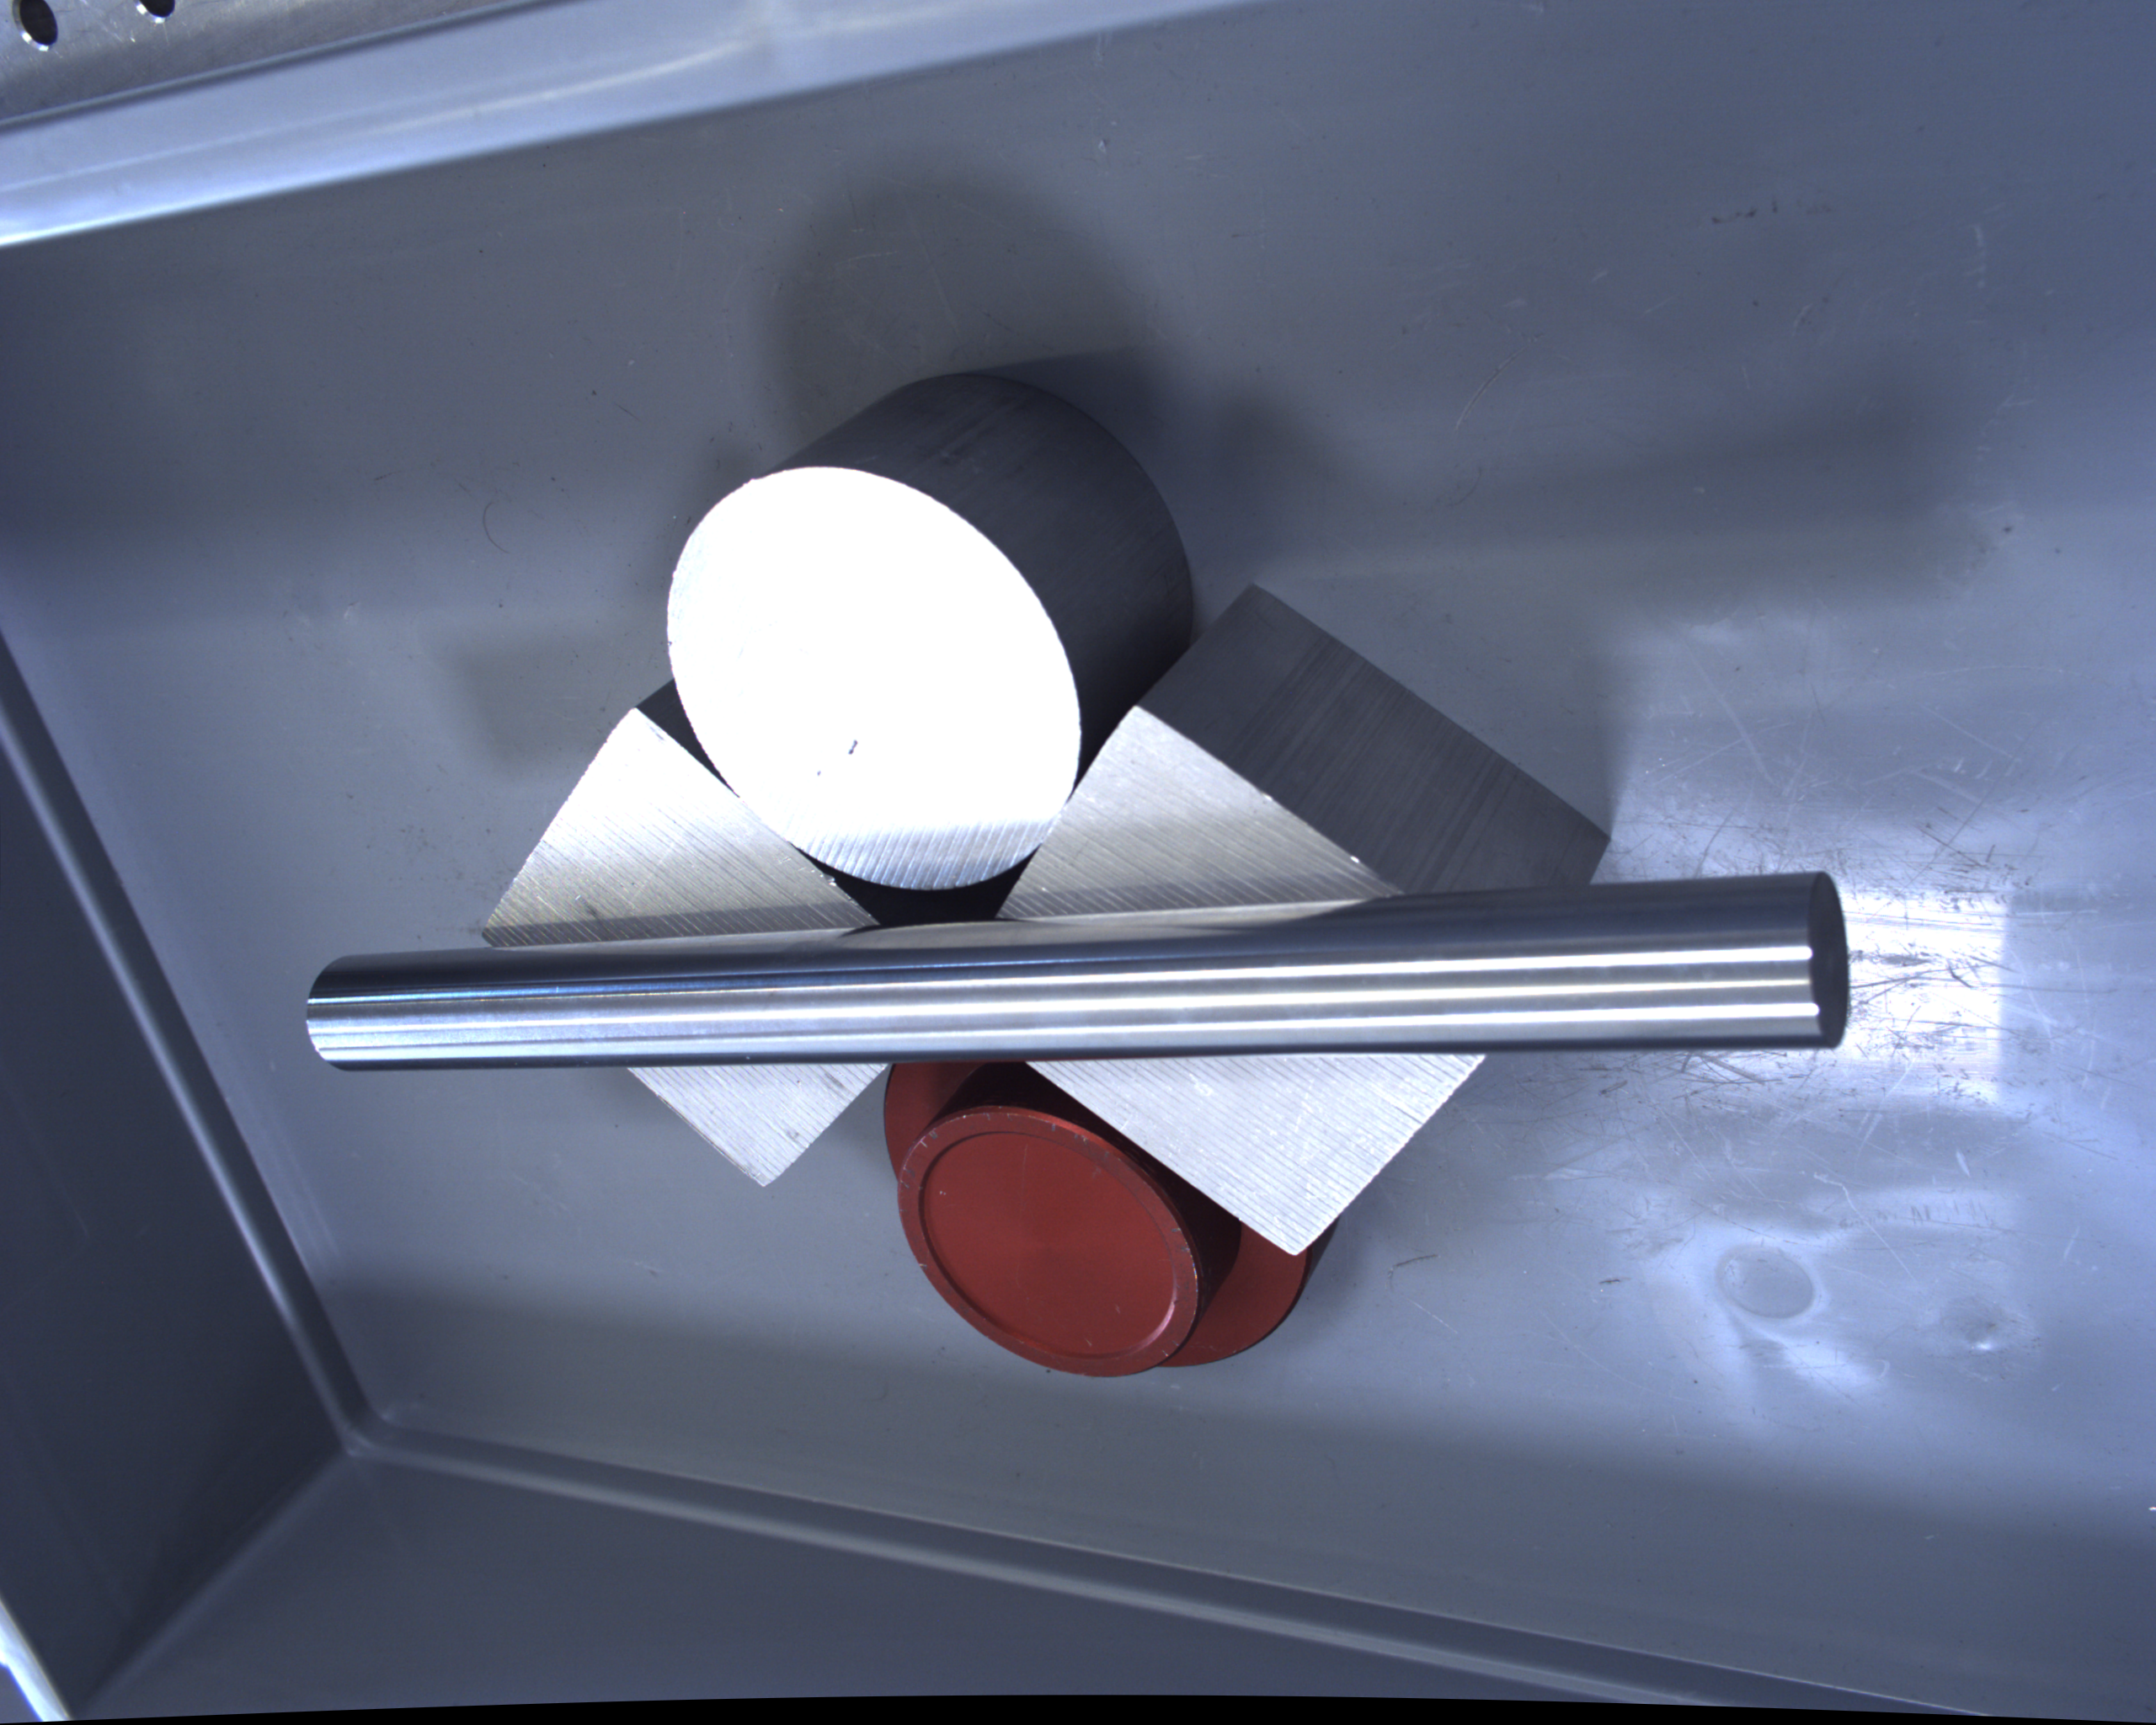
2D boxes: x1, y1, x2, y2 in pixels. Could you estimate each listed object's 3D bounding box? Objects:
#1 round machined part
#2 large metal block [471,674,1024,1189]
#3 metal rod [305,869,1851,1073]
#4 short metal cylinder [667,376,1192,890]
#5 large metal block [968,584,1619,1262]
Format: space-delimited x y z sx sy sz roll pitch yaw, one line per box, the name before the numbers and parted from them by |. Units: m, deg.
round machined part | 0.002 0.068 0.436 0.098 0.042 0.097 13 124 21
large metal block | -0.064 0.007 0.428 0.080 0.050 0.080 42 129 -3
metal rod | -0.024 0.023 0.366 0.300 0.025 0.025 -4 116 30
short metal cylinder | -0.026 -0.042 0.378 0.080 0.050 0.079 13 124 21
large metal block | 0.035 0.012 0.375 0.080 0.050 0.079 36 130 4
